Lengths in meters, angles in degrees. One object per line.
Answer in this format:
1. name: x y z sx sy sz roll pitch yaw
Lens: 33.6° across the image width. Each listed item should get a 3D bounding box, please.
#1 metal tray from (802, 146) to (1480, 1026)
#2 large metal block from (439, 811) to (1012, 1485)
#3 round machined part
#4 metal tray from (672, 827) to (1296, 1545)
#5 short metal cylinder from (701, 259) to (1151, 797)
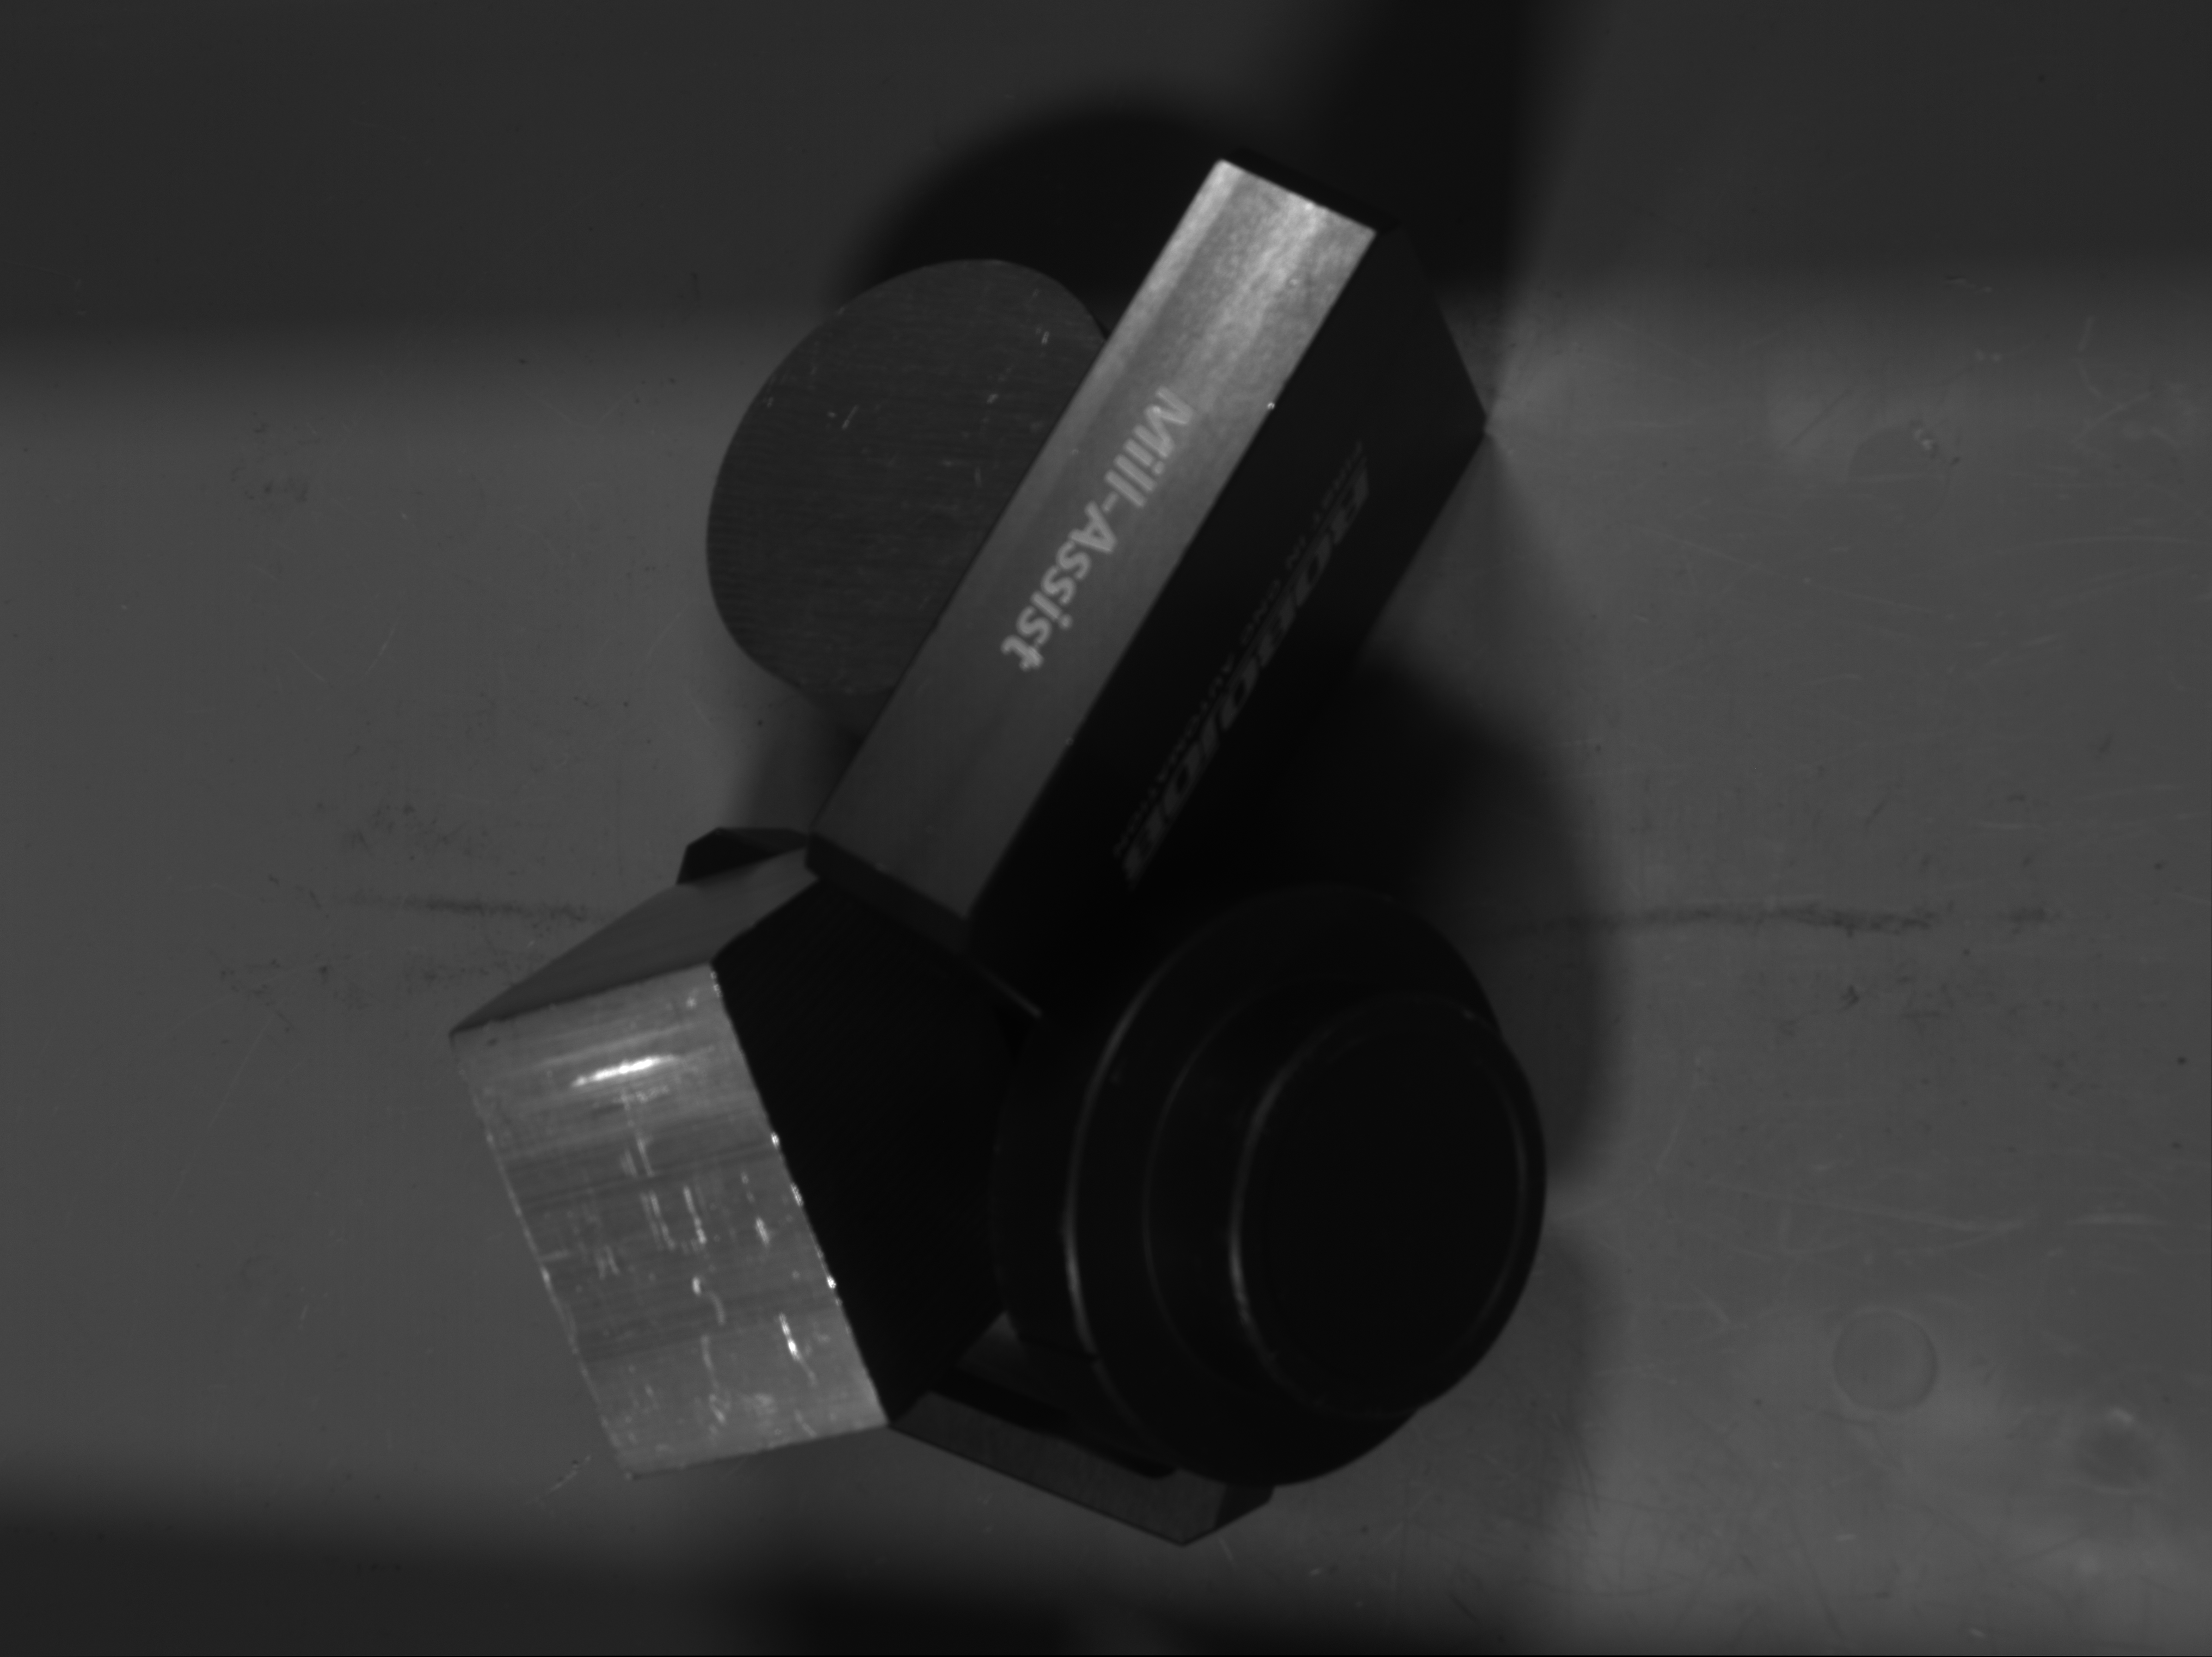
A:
1. metal tray: 0.009 -0.033 0.589 0.030 0.090 0.130 28 83 21
2. large metal block: -0.055 0.051 0.609 0.050 0.080 0.080 -16 100 25
3. round machined part: 0.032 0.058 0.589 0.042 0.098 0.098 8 93 50
4. metal tray: -0.024 0.061 0.648 0.130 0.030 0.090 18 96 19
5. short metal cylinder: -0.021 -0.049 0.622 0.080 0.050 0.080 -14 60 26
